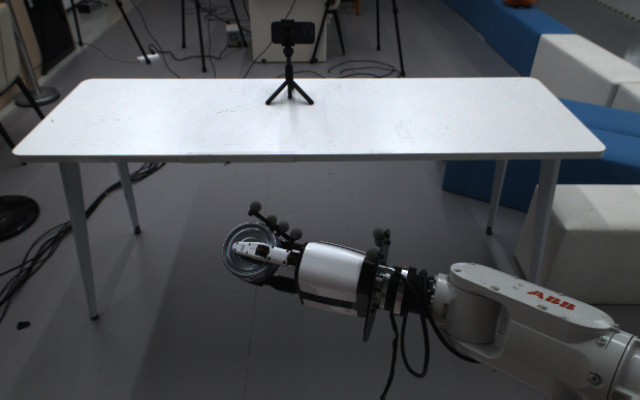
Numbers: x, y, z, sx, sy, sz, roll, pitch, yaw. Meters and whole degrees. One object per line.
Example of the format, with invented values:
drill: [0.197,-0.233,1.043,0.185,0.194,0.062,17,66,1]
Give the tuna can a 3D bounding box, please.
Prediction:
tuna can: [-0.097,0.084,0.711,0.085,0.034,0.085,-4,69,10]
